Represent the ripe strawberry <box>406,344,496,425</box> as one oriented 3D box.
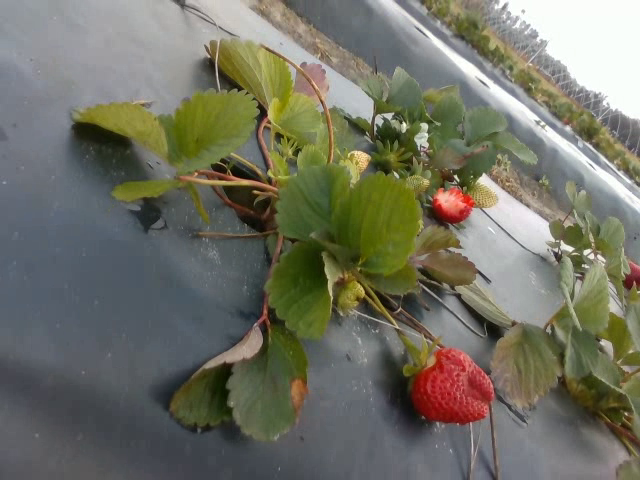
[{"bbox_3d":[0.022,0.025,0.100,0.015,0.014,0.017,25,53,30],"label":"ripe strawberry"}]
